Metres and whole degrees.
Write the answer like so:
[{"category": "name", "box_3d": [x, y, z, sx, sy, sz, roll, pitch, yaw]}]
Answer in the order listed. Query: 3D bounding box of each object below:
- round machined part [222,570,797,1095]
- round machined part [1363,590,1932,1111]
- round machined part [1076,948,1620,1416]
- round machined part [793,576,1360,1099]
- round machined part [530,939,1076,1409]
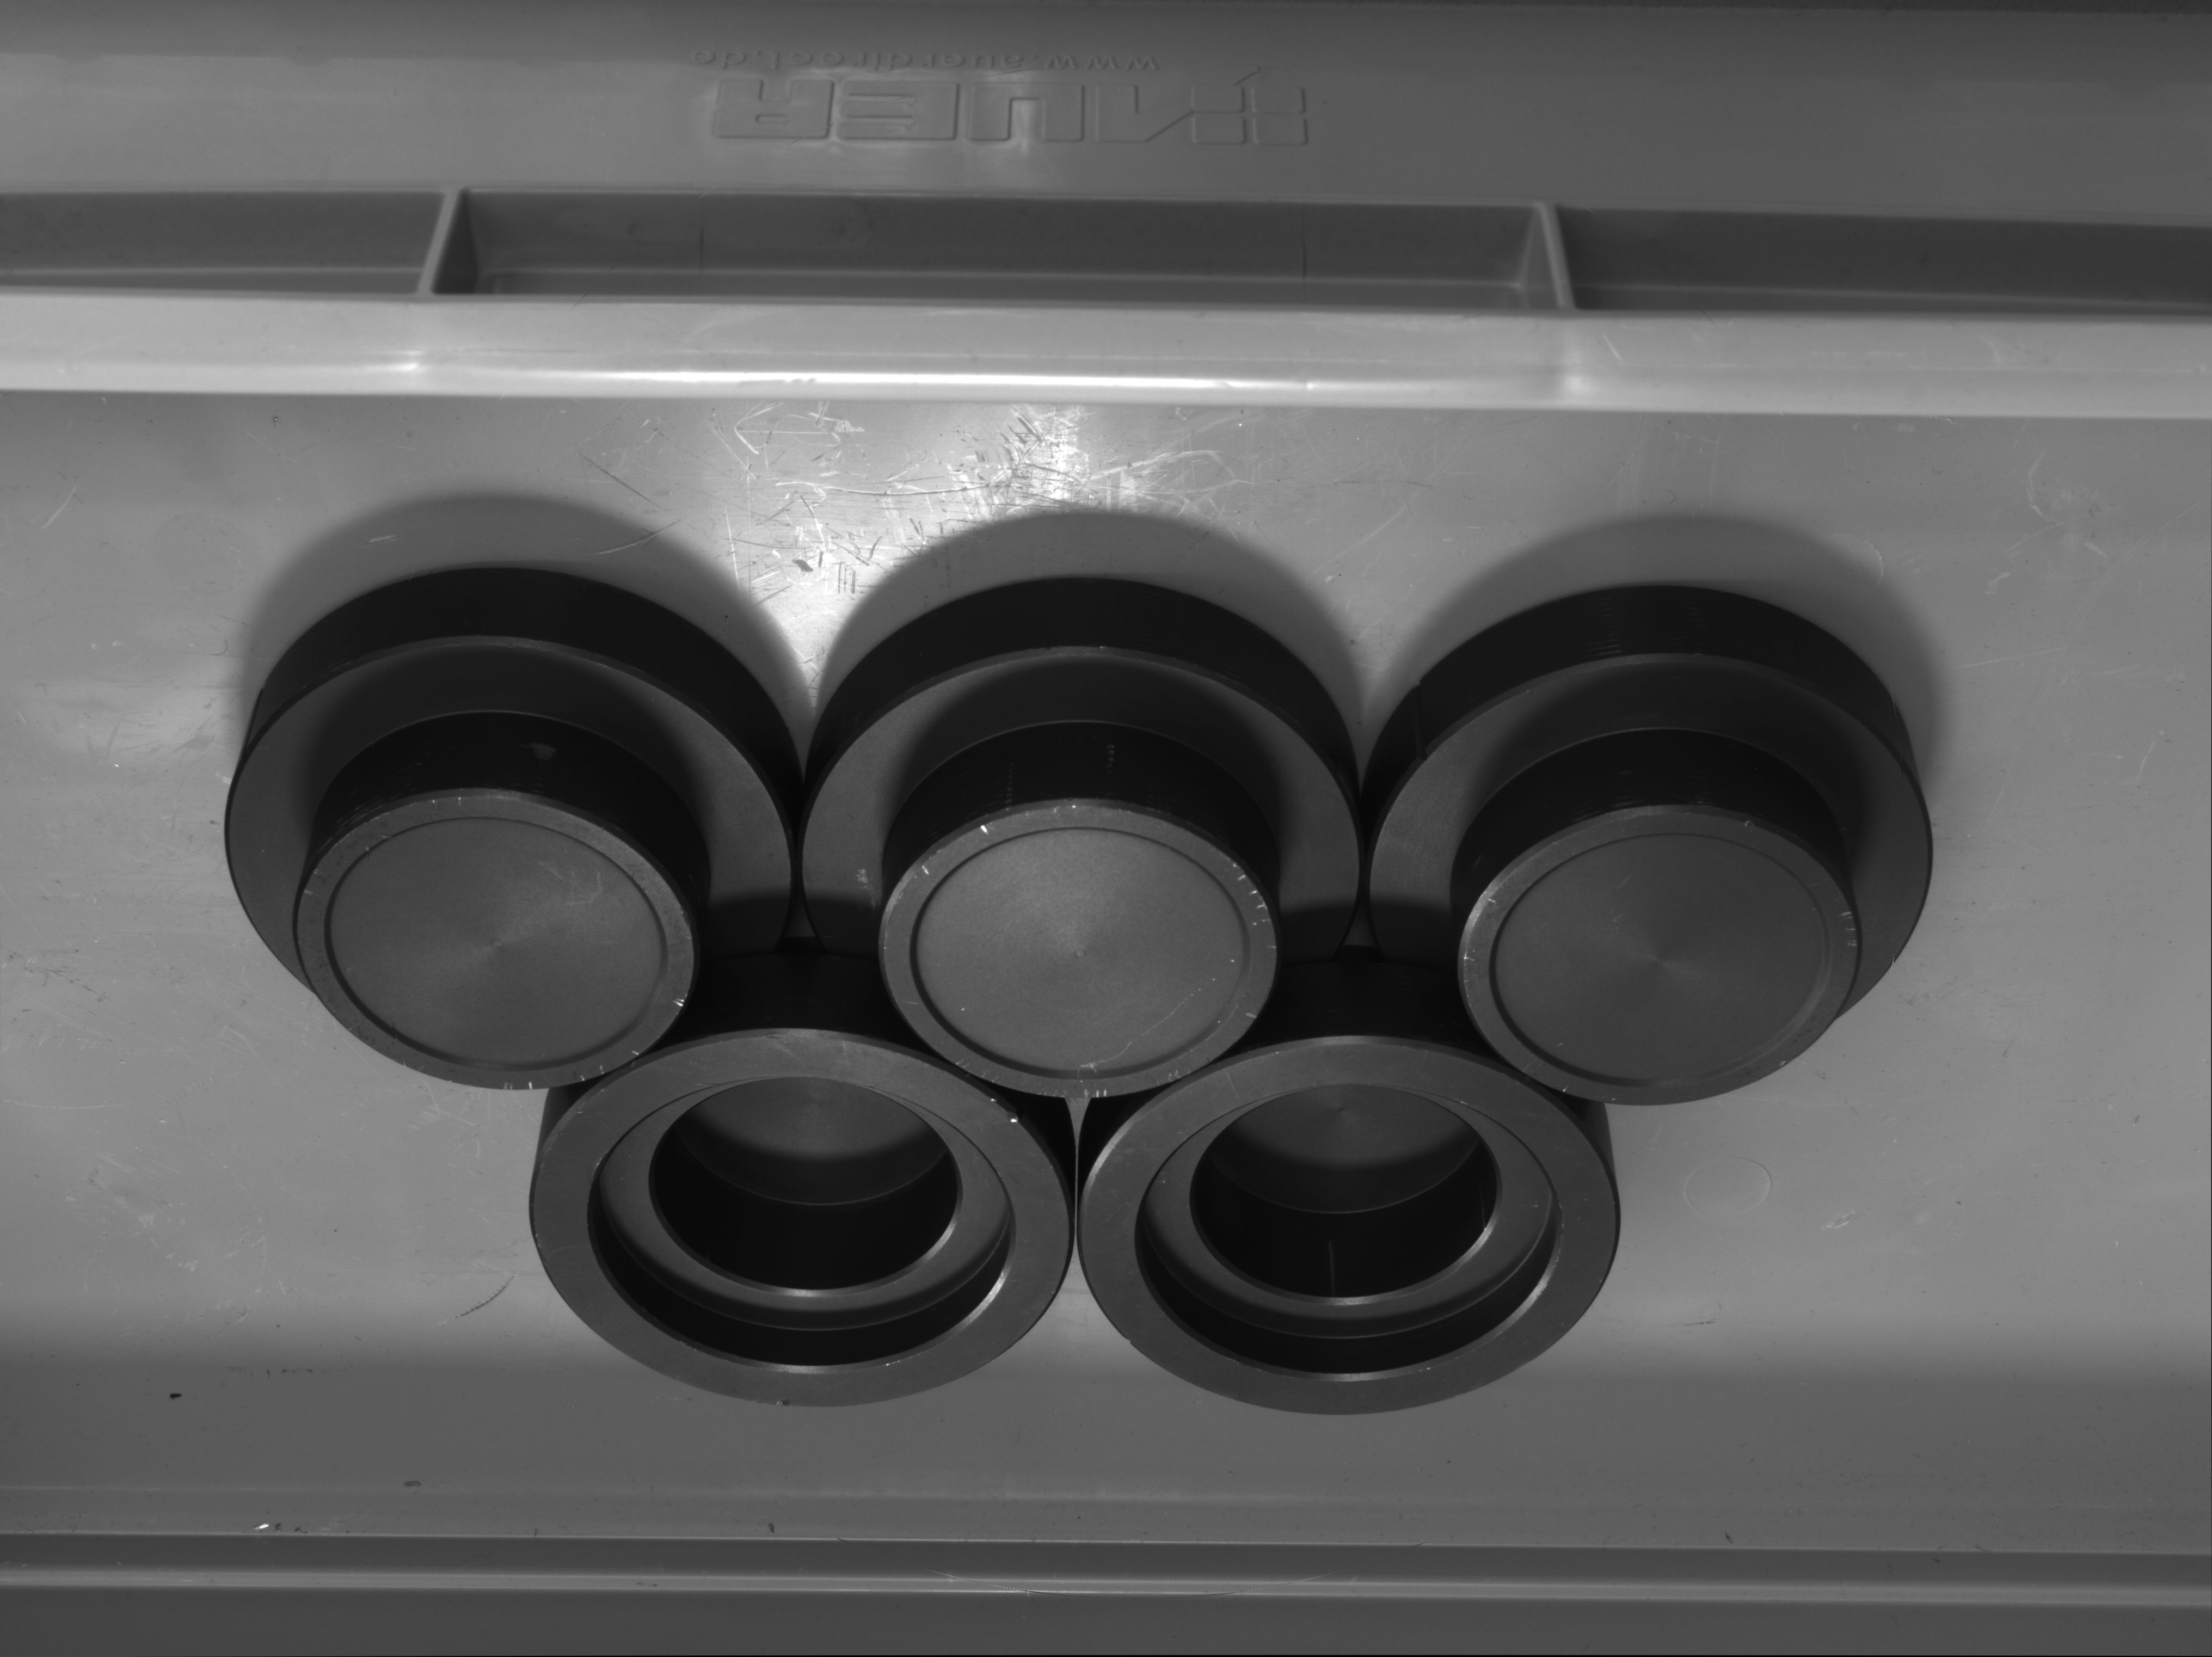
[{"category": "round machined part", "box_3d": [-0.103, 0.007, 0.631, 0.098, 0.042, 0.098, -1, 129, -1]}, {"category": "round machined part", "box_3d": [0.093, 0.010, 0.634, 0.098, 0.042, 0.098, 0, 129, 1]}, {"category": "round machined part", "box_3d": [0.044, 0.061, 0.677, 0.098, 0.042, 0.098, 0, 130, 0]}, {"category": "round machined part", "box_3d": [-0.005, 0.008, 0.632, 0.098, 0.042, 0.098, 0, 129, 1]}, {"category": "round machined part", "box_3d": [-0.054, 0.059, 0.675, 0.098, 0.042, 0.098, 0, 130, 0]}]
